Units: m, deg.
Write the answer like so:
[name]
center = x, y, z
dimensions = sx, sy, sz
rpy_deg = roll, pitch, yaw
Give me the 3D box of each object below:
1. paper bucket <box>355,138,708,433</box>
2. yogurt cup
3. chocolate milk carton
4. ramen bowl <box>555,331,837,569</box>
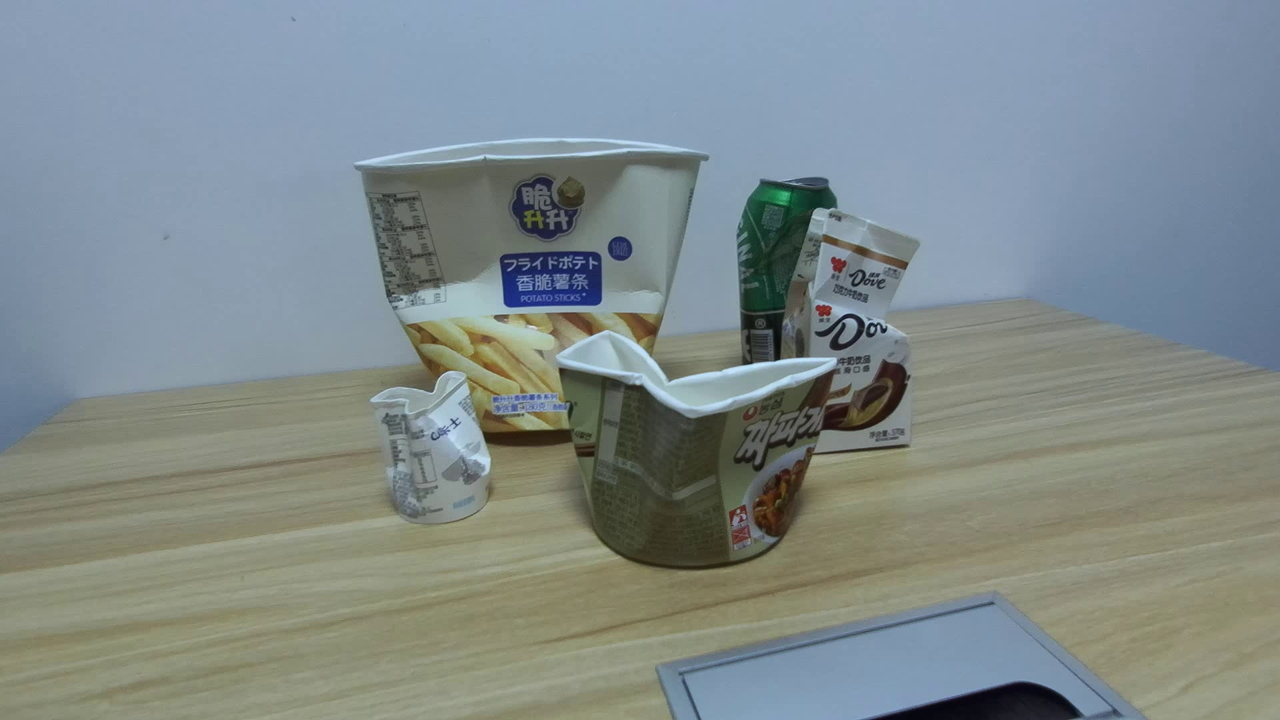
[paper bucket]
center = -0.072, -0.057, 0.521
dimensions = 0.219, 0.199, 0.147
rpy_deg = -13, 22, -28
[yogurt cup]
center = -0.119, 0.050, 0.410
dimensions = 0.055, 0.072, 0.055
rpy_deg = 15, 26, 43
[chocolate milk carton]
center = 0.137, -0.024, 0.465
dimensions = 0.076, 0.155, 0.073
rpy_deg = -3, 21, -4
[ramen bowl]
center = 0.023, 0.040, 0.384
dimensions = 0.112, 0.093, 0.127
rpy_deg = -18, 25, -38
